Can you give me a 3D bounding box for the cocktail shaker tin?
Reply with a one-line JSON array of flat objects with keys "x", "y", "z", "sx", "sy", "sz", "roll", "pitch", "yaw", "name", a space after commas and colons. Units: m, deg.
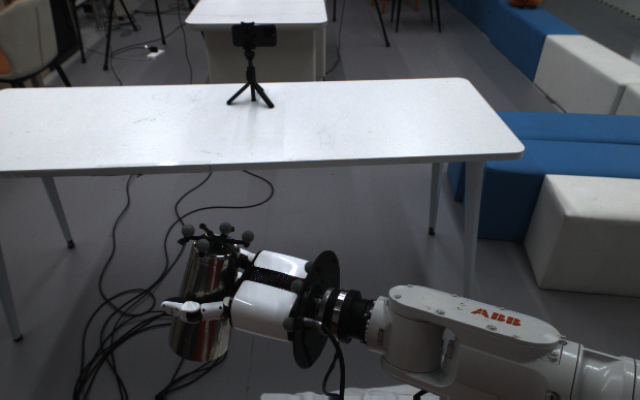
[{"x": -0.161, "y": 0.136, "z": 0.700, "sx": 0.093, "sy": 0.170, "sz": 0.093, "roll": 12, "pitch": 24, "yaw": -5, "name": "cocktail shaker tin"}]
